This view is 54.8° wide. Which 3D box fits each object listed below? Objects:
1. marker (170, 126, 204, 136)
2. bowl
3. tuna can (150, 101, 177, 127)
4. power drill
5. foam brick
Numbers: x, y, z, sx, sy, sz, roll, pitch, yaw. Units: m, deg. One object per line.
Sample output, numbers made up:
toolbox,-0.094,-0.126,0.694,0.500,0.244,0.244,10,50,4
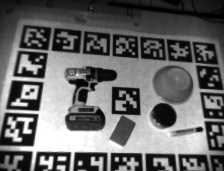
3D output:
marker,0.259,0.154,0.739,0.122,0.019,0.019,-6,71,-12
bowl,0.228,-0.018,0.795,0.162,0.055,0.161,3,61,-5
tuna can,0.176,0.098,0.741,0.086,0.033,0.085,4,68,-10
power drill,-0.080,0.032,0.719,0.185,0.057,0.186,4,66,-11
foam brick,0.031,0.146,0.697,0.051,0.053,0.078,27,68,1
